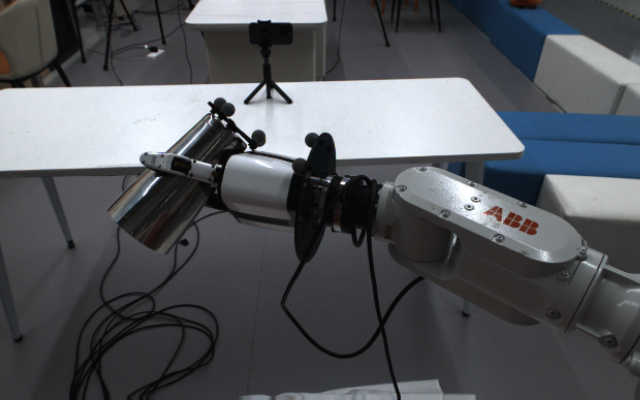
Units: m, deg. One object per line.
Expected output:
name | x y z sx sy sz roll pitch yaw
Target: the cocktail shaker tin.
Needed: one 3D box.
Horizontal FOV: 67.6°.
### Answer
cocktail shaker tin | -0.172 -0.028 0.615 0.170 0.093 0.093 -48 49 -3
